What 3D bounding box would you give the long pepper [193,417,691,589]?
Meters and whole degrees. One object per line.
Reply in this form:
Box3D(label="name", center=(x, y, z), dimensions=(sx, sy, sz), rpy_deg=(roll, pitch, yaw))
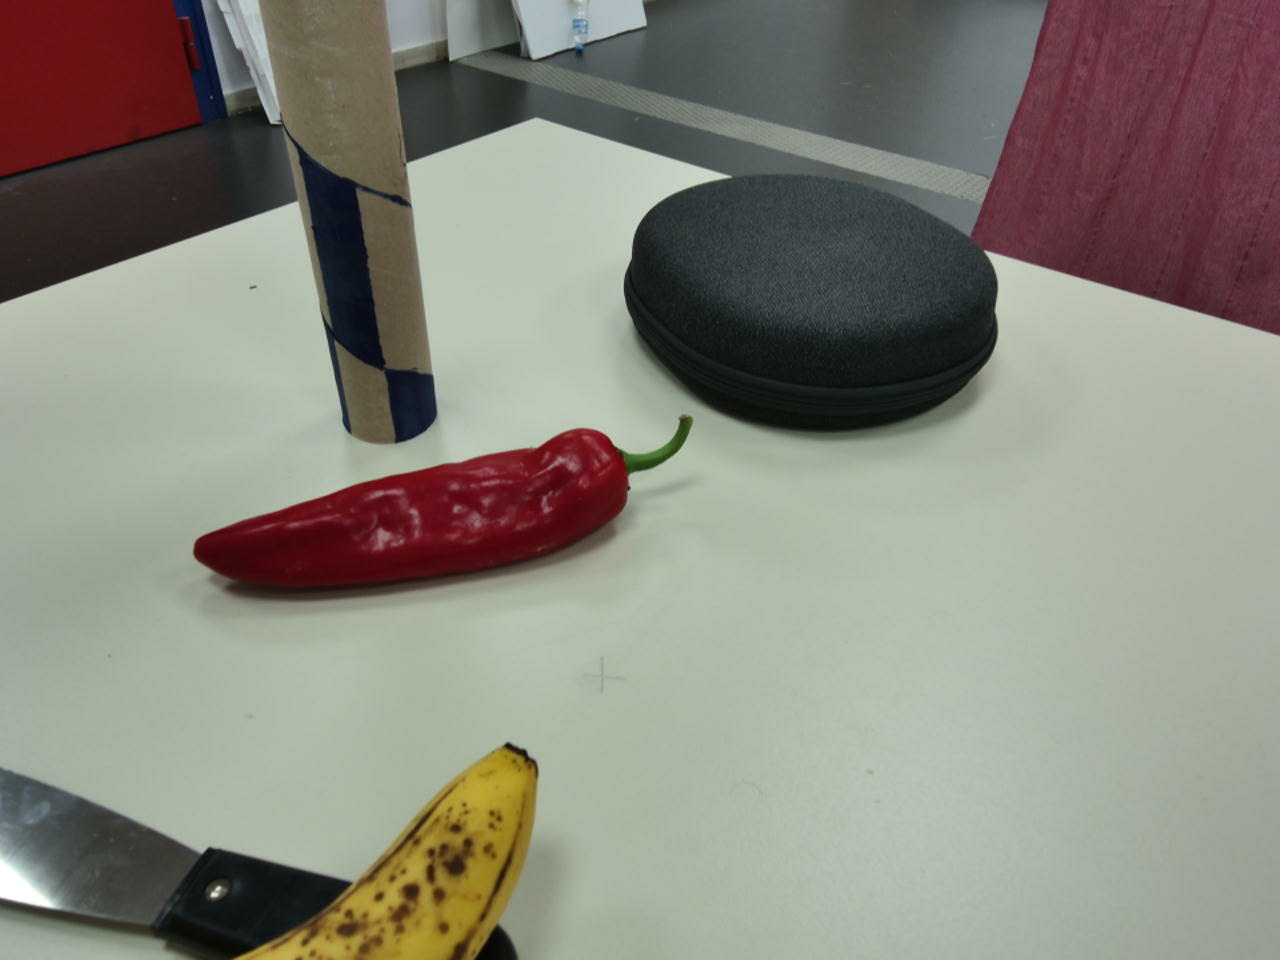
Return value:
Box3D(label="long pepper", center=(-0.073, 0.011, 0.413), dimensions=(0.211, 0.043, 0.050), rpy_deg=(-12, 38, -17))
